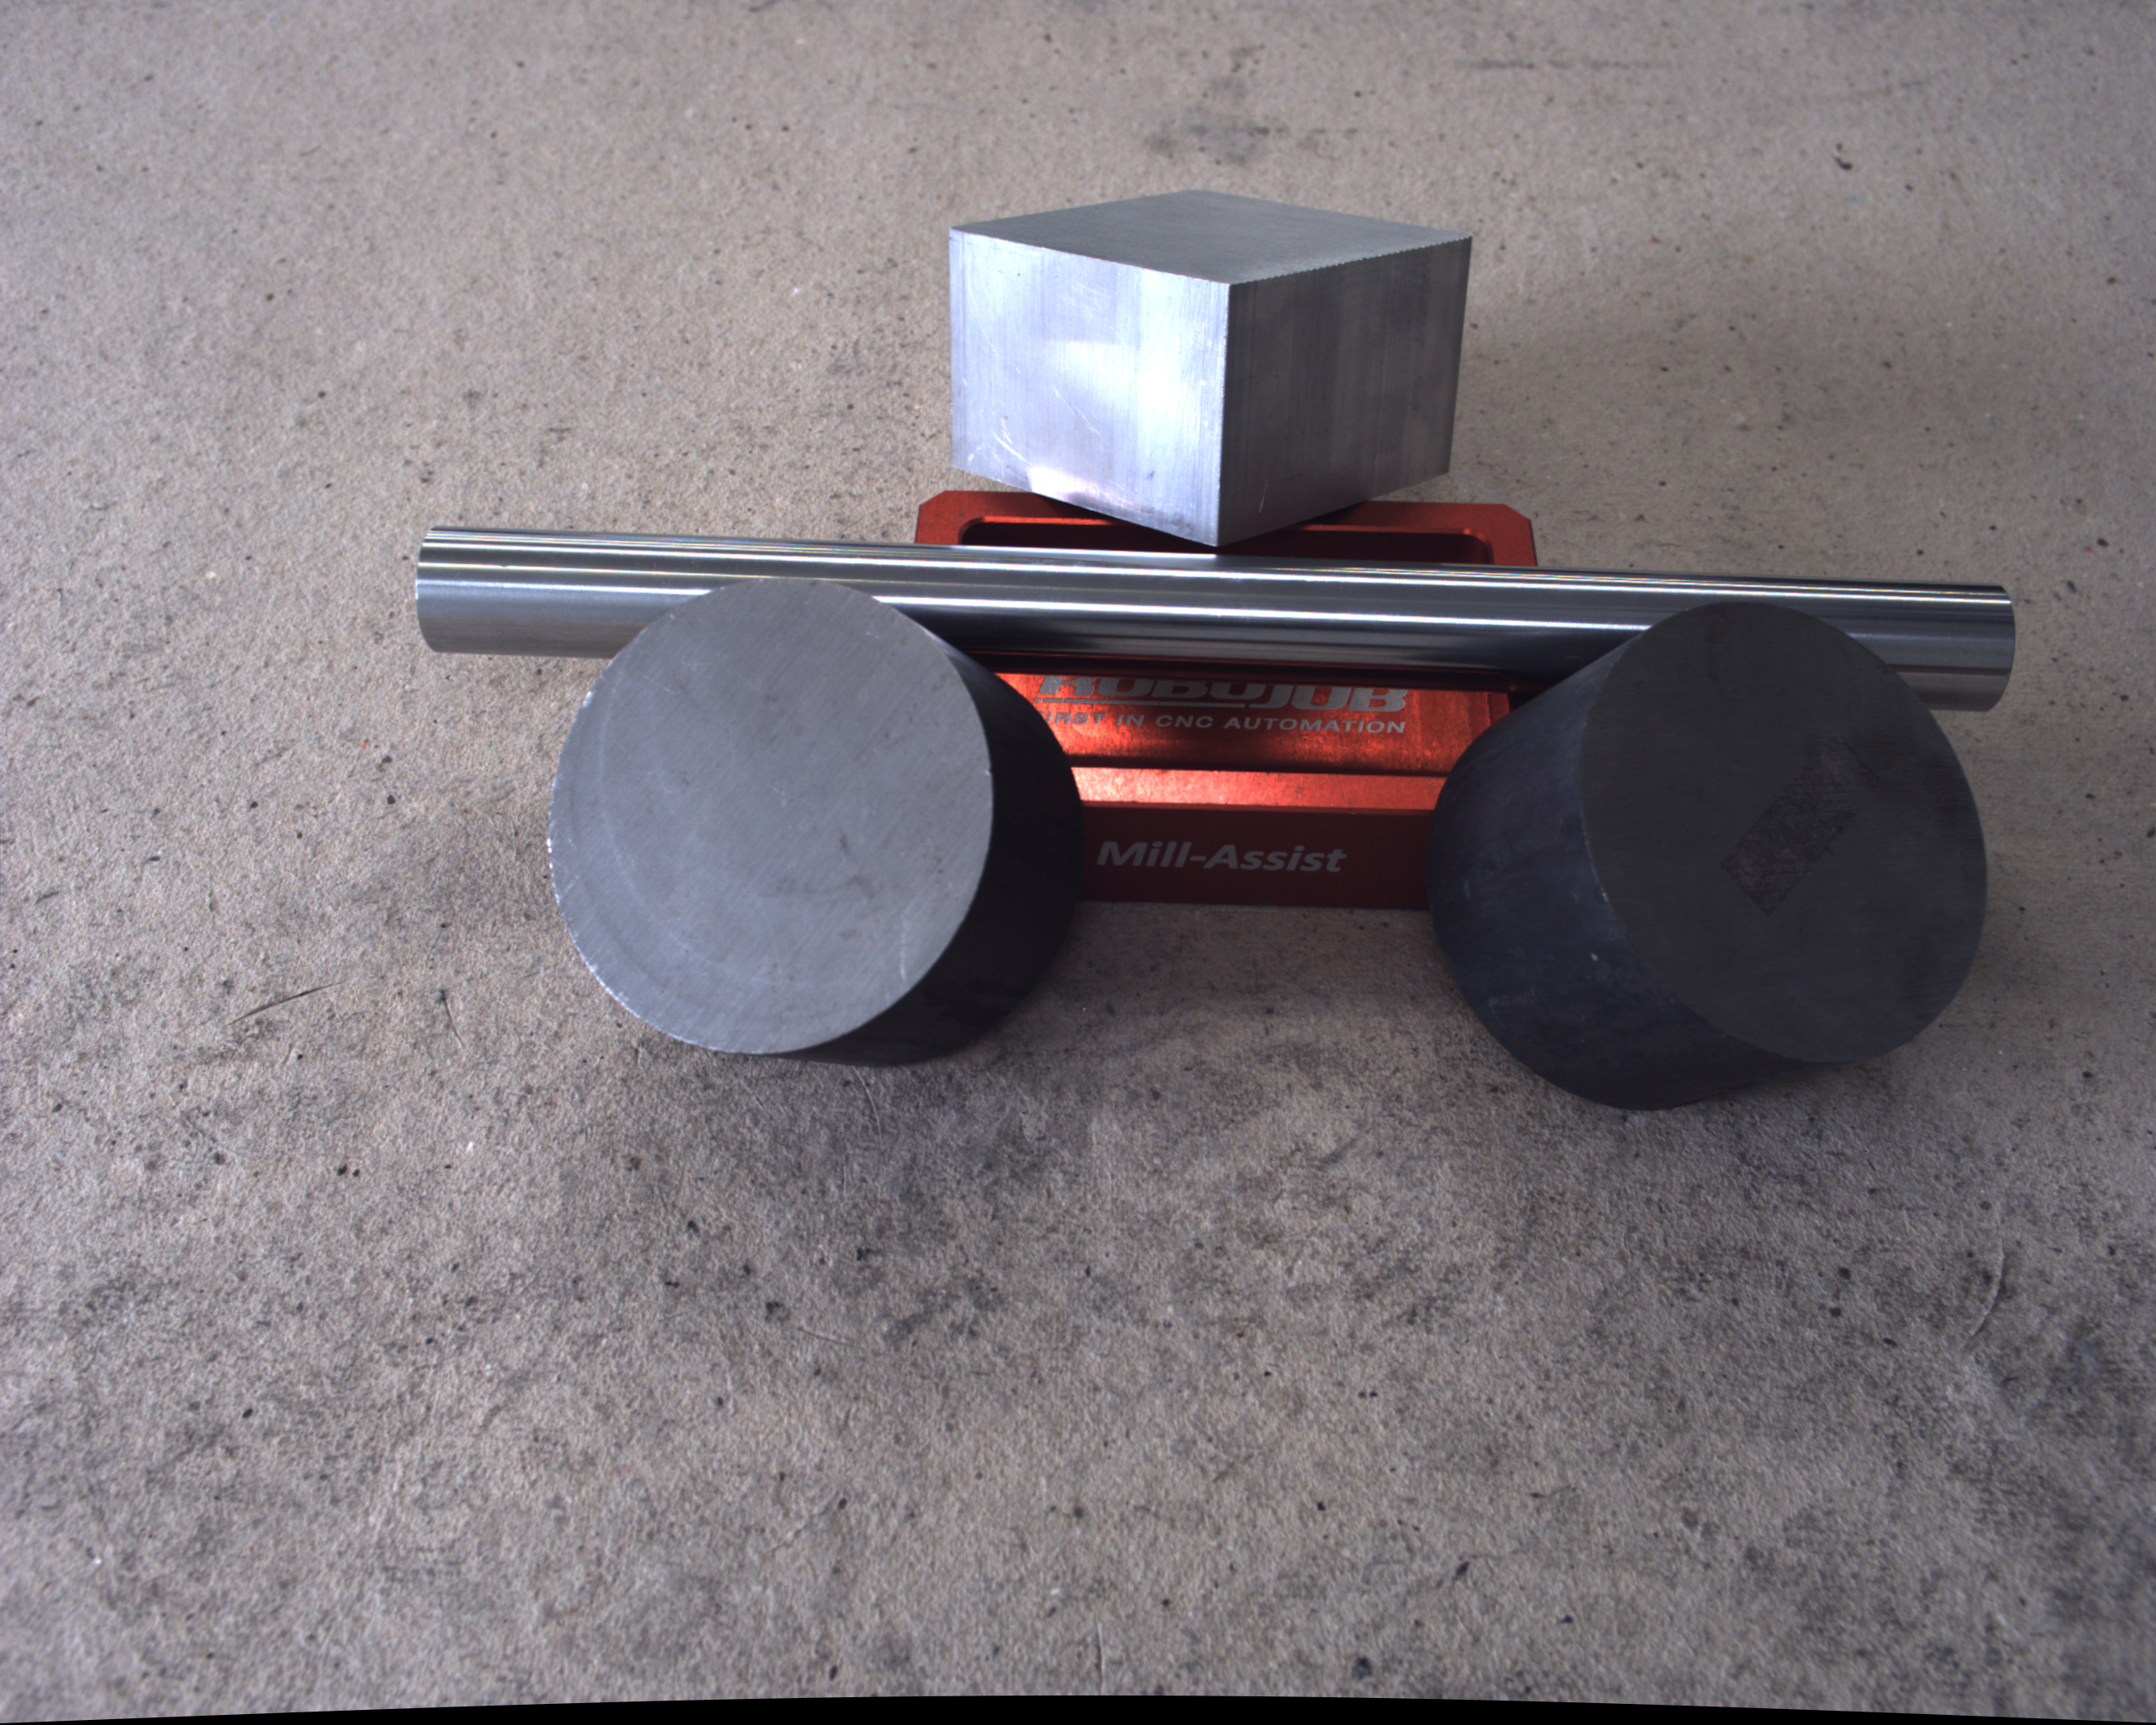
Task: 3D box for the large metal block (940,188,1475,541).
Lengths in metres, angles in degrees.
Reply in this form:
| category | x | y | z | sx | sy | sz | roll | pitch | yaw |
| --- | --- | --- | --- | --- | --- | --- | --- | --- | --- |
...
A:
| category | x | y | z | sx | sy | sz | roll | pitch | yaw |
| --- | --- | --- | --- | --- | --- | --- | --- | --- | --- |
| large metal block | 0.028 | -0.112 | 0.455 | 0.080 | 0.050 | 0.081 | 24 | 36 | 39 |

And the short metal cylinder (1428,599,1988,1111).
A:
| category | x | y | z | sx | sy | sz | roll | pitch | yaw |
| --- | --- | --- | --- | --- | --- | --- | --- | --- | --- |
| short metal cylinder | 0.110 | 0.000 | 0.368 | 0.081 | 0.050 | 0.080 | 6 | 72 | -18 |

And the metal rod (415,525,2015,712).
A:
| category | x | y | z | sx | sy | sz | roll | pitch | yaw |
| --- | --- | --- | --- | --- | --- | --- | --- | --- | --- |
| metal rod | 0.025 | -0.048 | 0.406 | 0.302 | 0.025 | 0.025 | 2 | 50 | 2 |

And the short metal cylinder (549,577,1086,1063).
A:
| category | x | y | z | sx | sy | sz | roll | pitch | yaw |
| --- | --- | --- | --- | --- | --- | --- | --- | --- | --- |
| short metal cylinder | -0.044 | -0.005 | 0.369 | 0.080 | 0.050 | 0.080 | -3 | 81 | 17 |

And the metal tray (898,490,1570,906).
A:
| category | x | y | z | sx | sy | sz | roll | pitch | yaw |
| --- | --- | --- | --- | --- | --- | --- | --- | --- | --- |
| metal tray | 0.030 | -0.036 | 0.432 | 0.131 | 0.030 | 0.090 | 2 | 50 | 1 |
